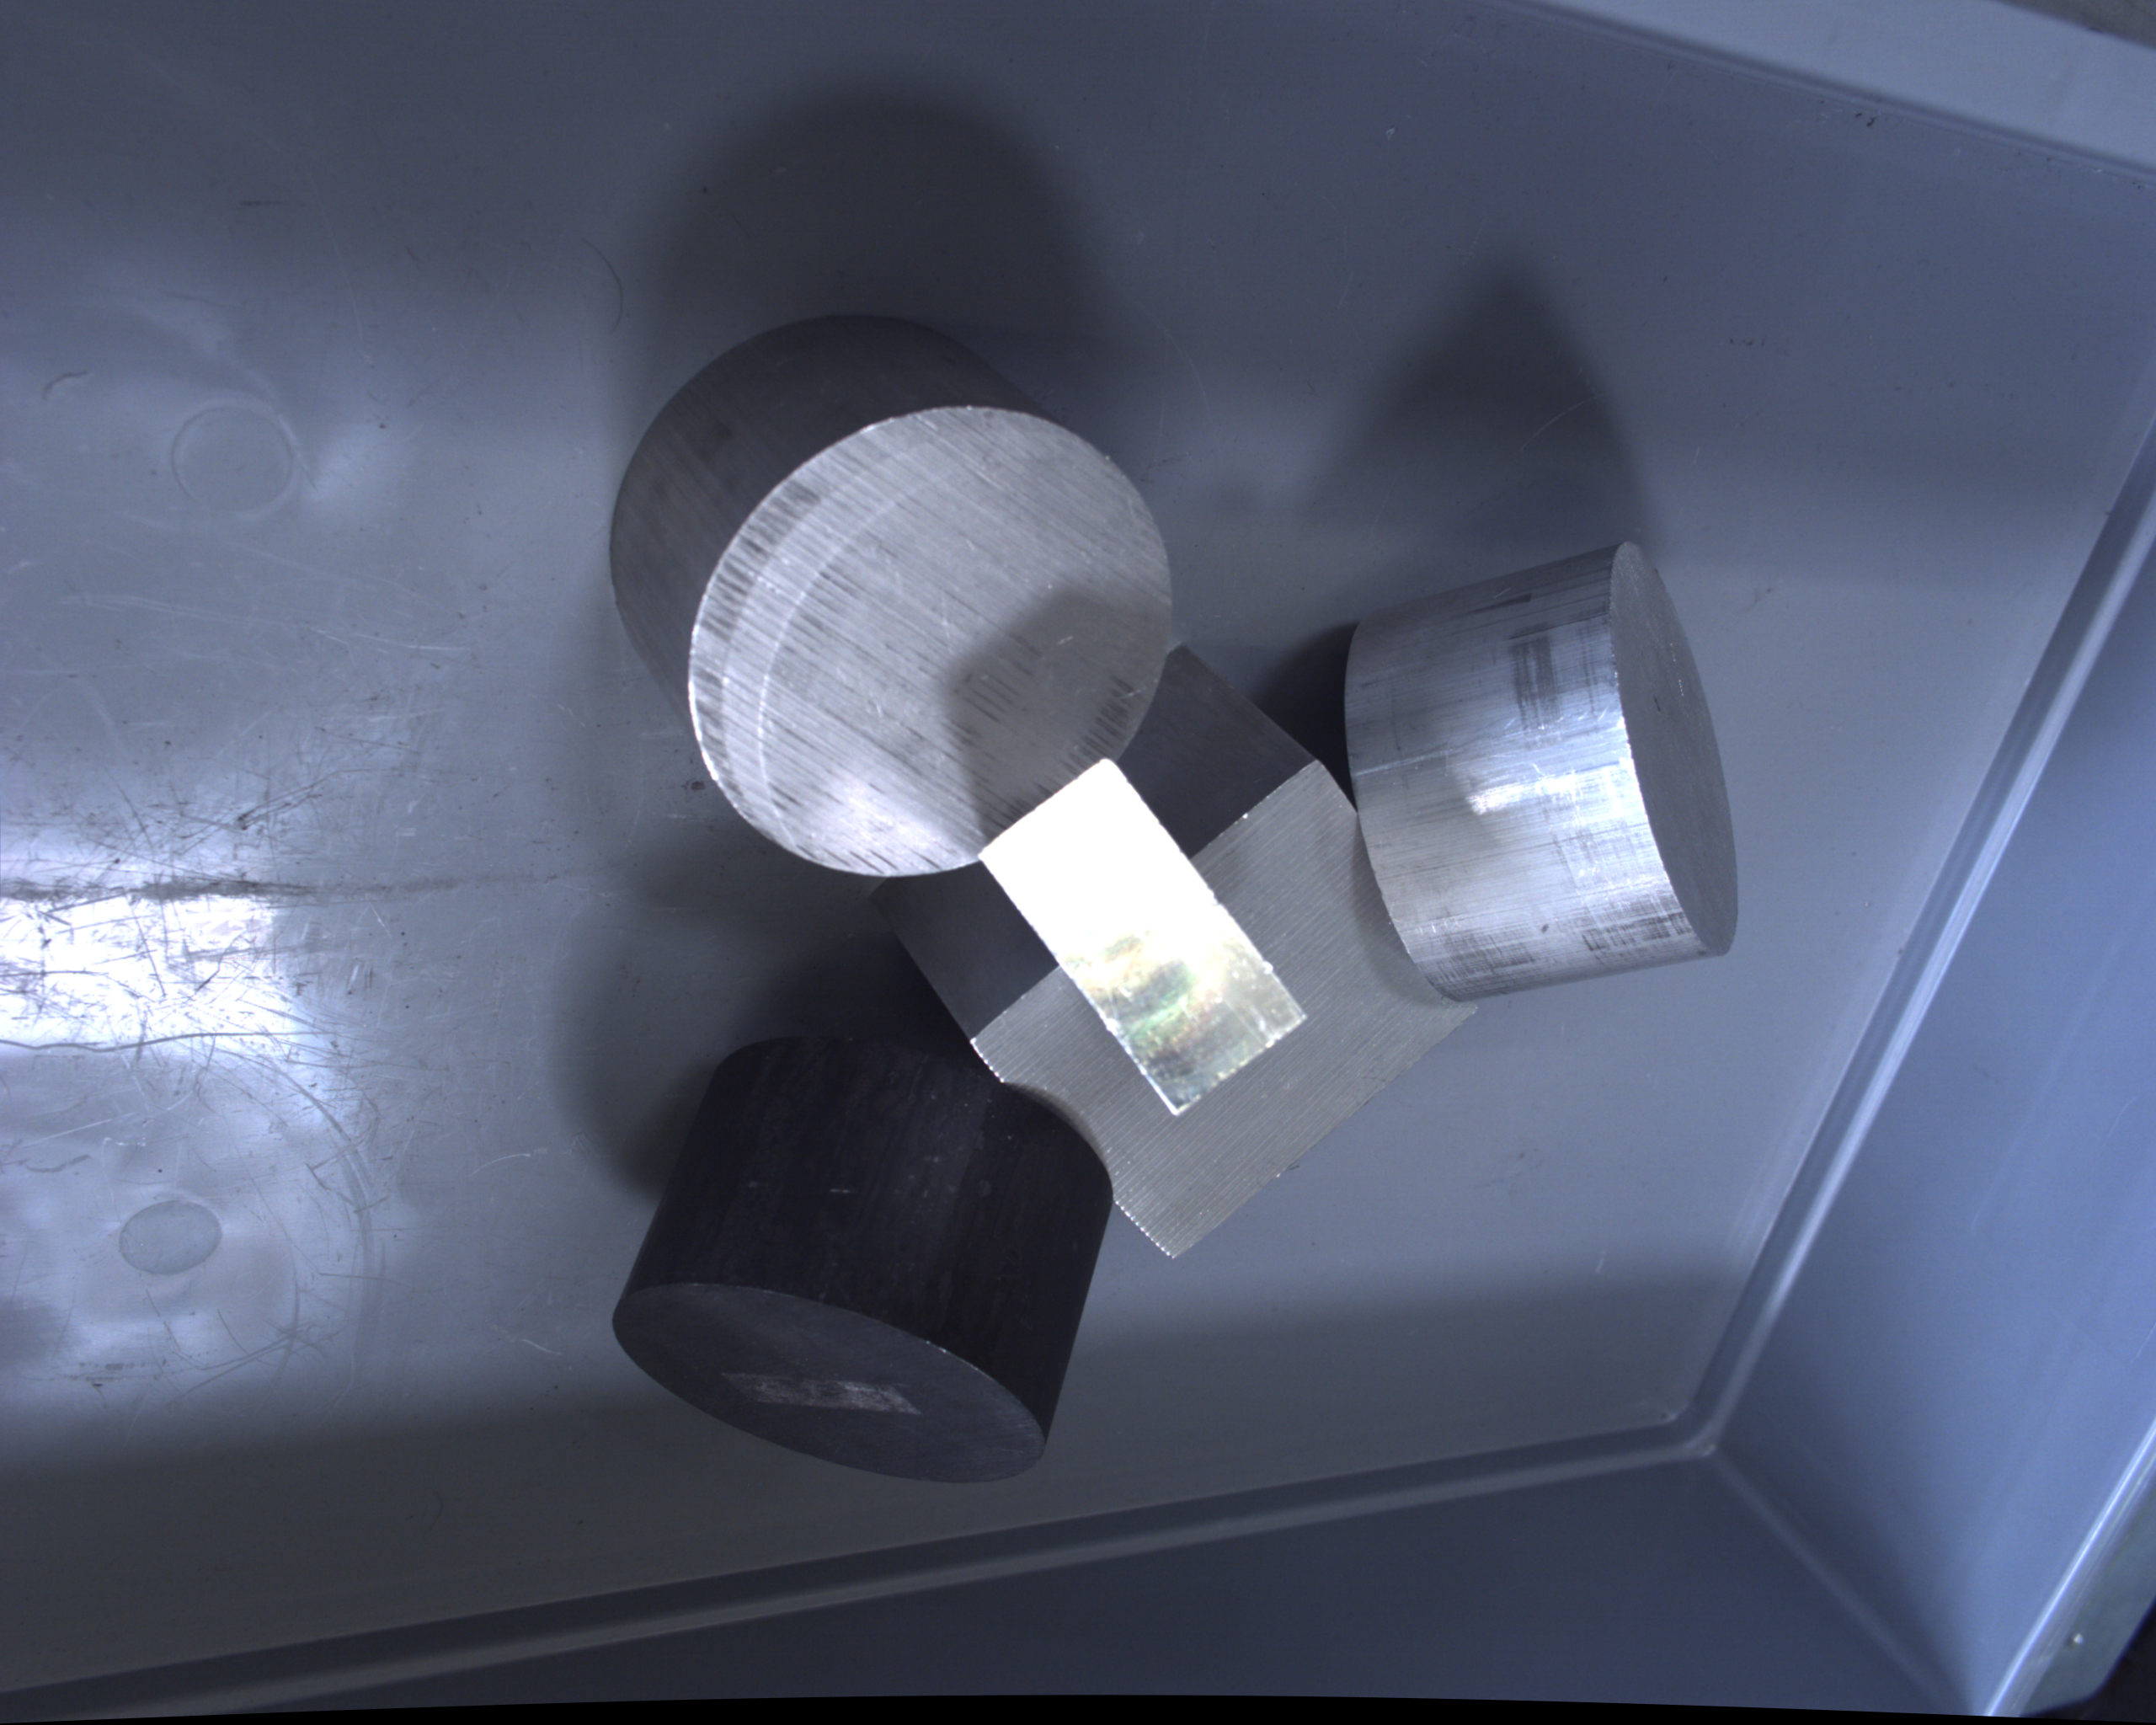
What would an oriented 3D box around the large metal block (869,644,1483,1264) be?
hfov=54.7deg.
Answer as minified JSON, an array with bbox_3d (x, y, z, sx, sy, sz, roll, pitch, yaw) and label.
[{"bbox_3d":[0.020,0.019,0.410,0.080,0.050,0.080,-39,130,-2],"label":"large metal block"}]

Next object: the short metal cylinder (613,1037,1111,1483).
[{"bbox_3d":[-0.039,0.075,0.389,0.080,0.050,0.080,12,145,9],"label":"short metal cylinder"}]

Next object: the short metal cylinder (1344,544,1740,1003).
[{"bbox_3d":[0.091,-0.016,0.402,0.050,0.080,0.080,-13,136,28],"label":"short metal cylinder"}]

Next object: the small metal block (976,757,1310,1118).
[{"bbox_3d":[0.010,0.013,0.340,0.025,0.050,0.050,-37,86,-1],"label":"small metal block"}]

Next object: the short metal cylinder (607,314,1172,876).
[{"bbox_3d":[-0.032,-0.045,0.346,0.081,0.050,0.079,-14,124,-21],"label":"short metal cylinder"}]
